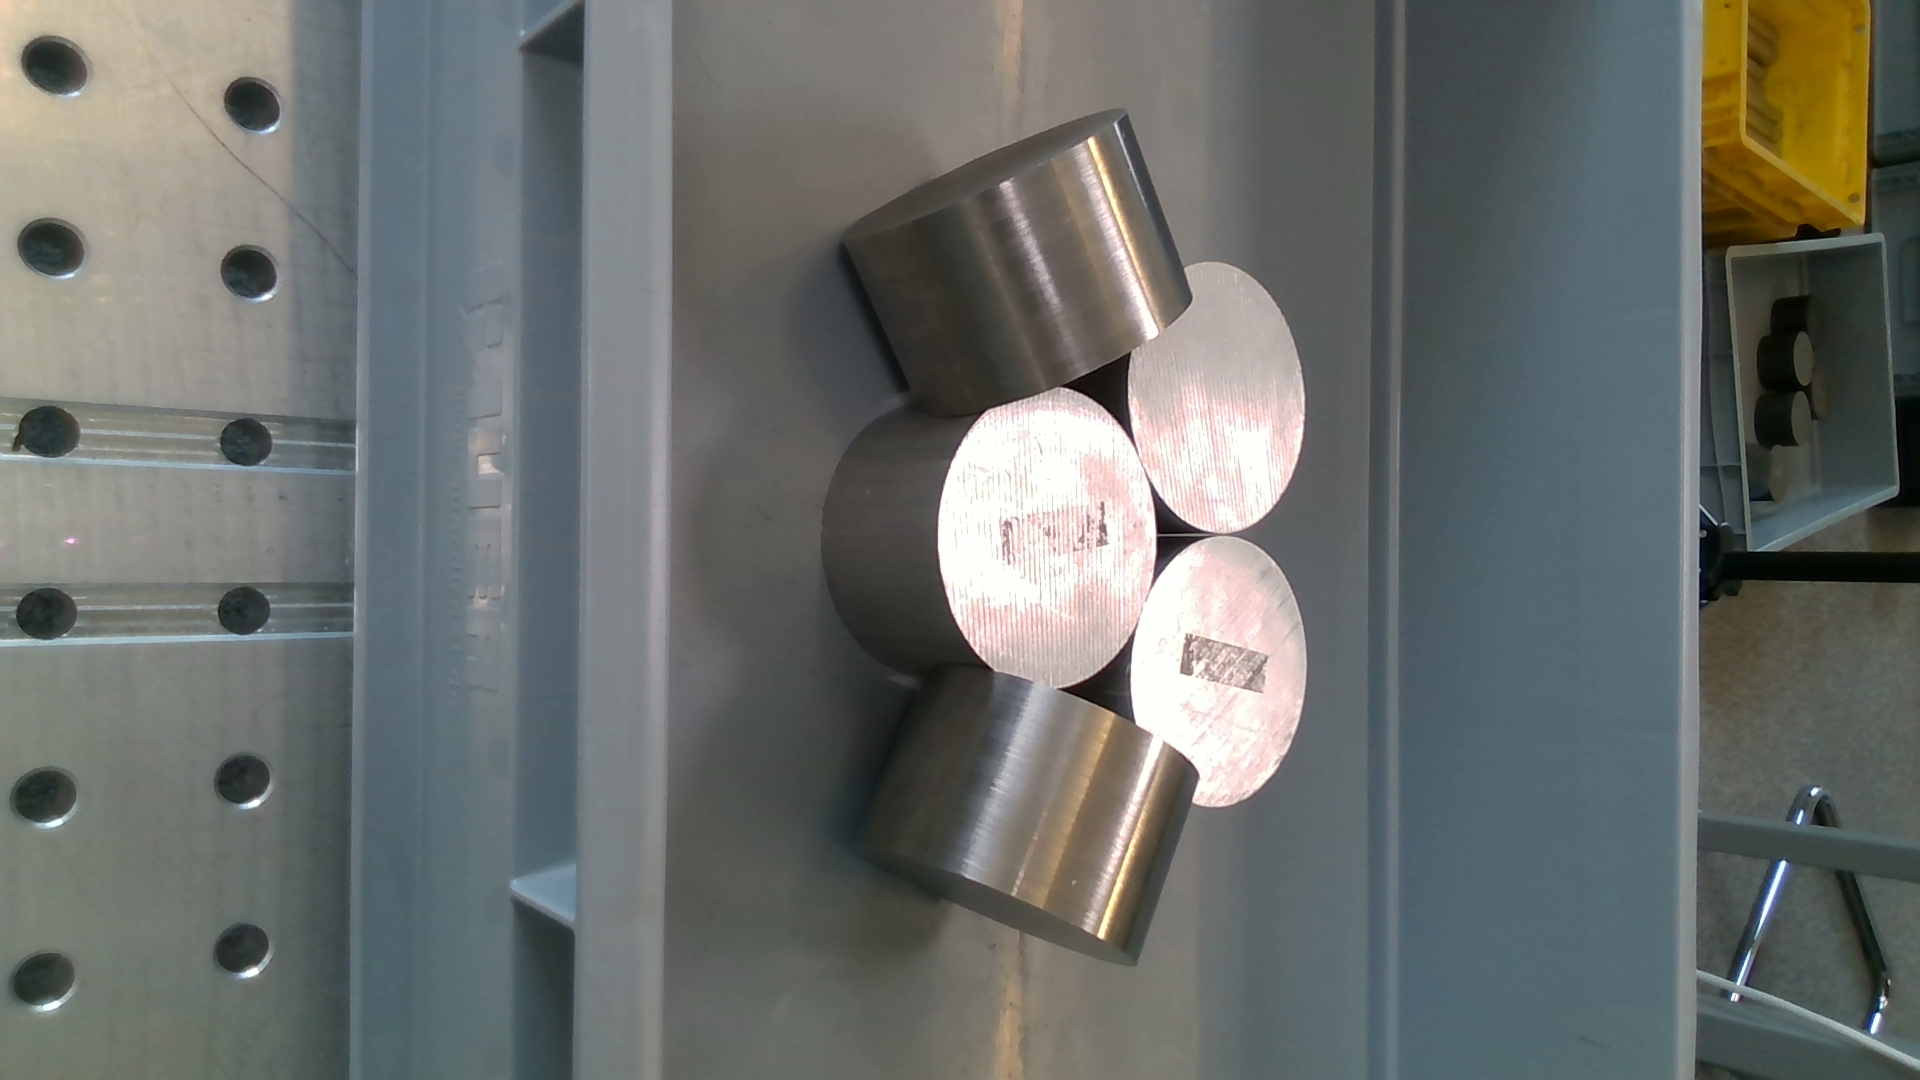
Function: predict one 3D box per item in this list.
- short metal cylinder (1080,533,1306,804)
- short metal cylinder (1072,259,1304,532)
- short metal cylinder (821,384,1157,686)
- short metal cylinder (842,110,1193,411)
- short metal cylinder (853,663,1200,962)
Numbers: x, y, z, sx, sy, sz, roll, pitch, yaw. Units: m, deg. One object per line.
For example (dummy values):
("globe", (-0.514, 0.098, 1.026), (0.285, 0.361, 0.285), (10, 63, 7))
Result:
("short metal cylinder", (0.062, 0.038, 0.426), (0.080, 0.050, 0.080), (0, 90, -40))
("short metal cylinder", (0.061, -0.042, 0.425), (0.080, 0.050, 0.080), (0, 90, -40))
("short metal cylinder", (0.009, -0.001, 0.381), (0.080, 0.050, 0.080), (0, 90, -40))
("short metal cylinder", (0.015, -0.075, 0.367), (0.080, 0.080, 0.050), (-38, 113, -34))
("short metal cylinder", (0.018, 0.073, 0.369), (0.080, 0.080, 0.050), (36, 67, -34))
